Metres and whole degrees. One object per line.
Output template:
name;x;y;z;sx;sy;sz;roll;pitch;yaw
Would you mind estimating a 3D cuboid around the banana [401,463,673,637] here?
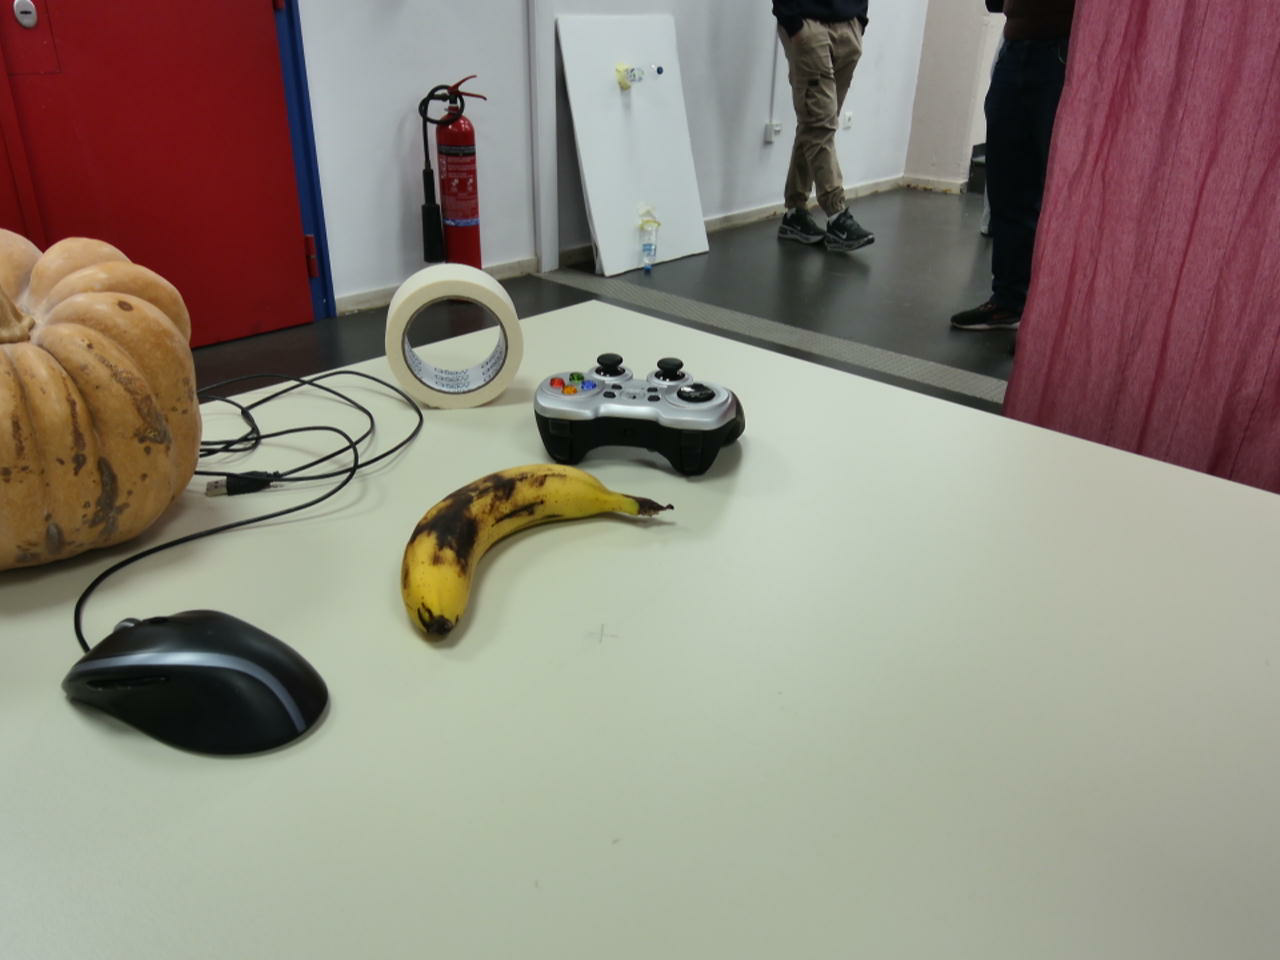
banana;-0.076;0.028;0.586;0.094;0.039;0.187;21;31;35
